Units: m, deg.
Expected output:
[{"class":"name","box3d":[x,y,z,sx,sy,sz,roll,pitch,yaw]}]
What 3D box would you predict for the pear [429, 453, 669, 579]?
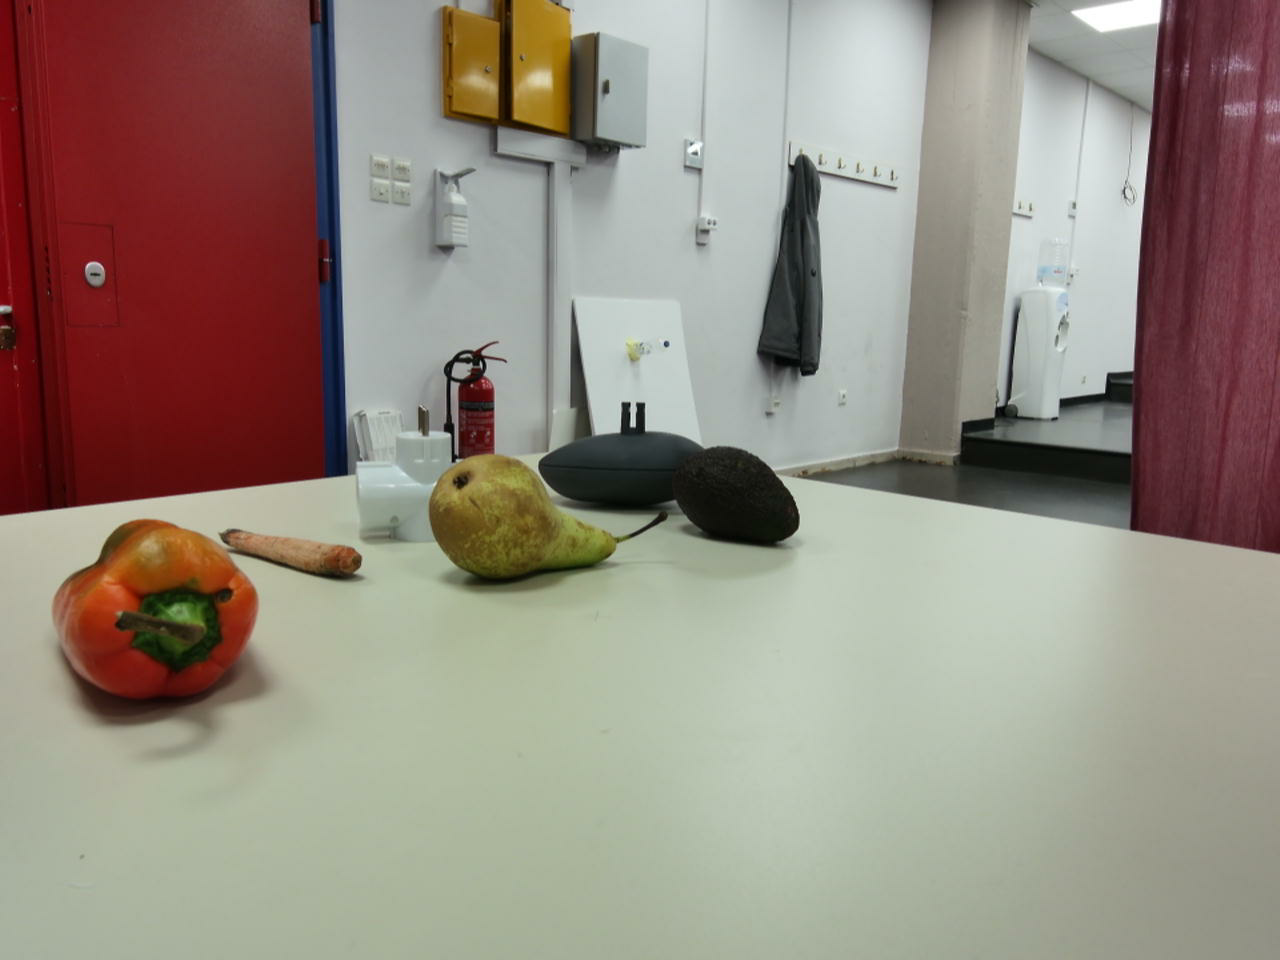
[{"class":"pear","box3d":[-0.060,0.019,0.621,0.144,0.075,0.072,-7,10,-39]}]
